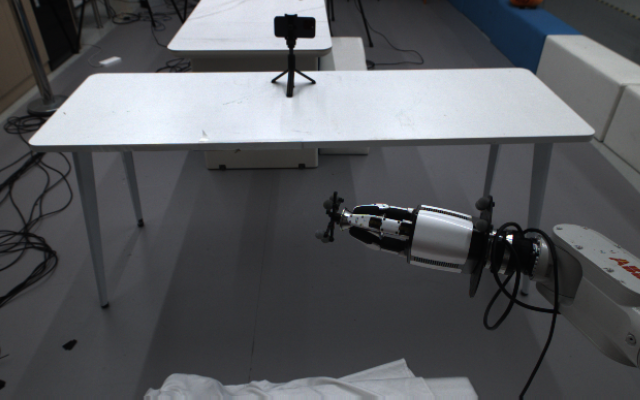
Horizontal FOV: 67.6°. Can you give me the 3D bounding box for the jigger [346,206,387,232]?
[{"bbox_3d":[0.076,0.033,0.786,0.071,0.043,0.043,10,35,16],"label":"jigger"}]
